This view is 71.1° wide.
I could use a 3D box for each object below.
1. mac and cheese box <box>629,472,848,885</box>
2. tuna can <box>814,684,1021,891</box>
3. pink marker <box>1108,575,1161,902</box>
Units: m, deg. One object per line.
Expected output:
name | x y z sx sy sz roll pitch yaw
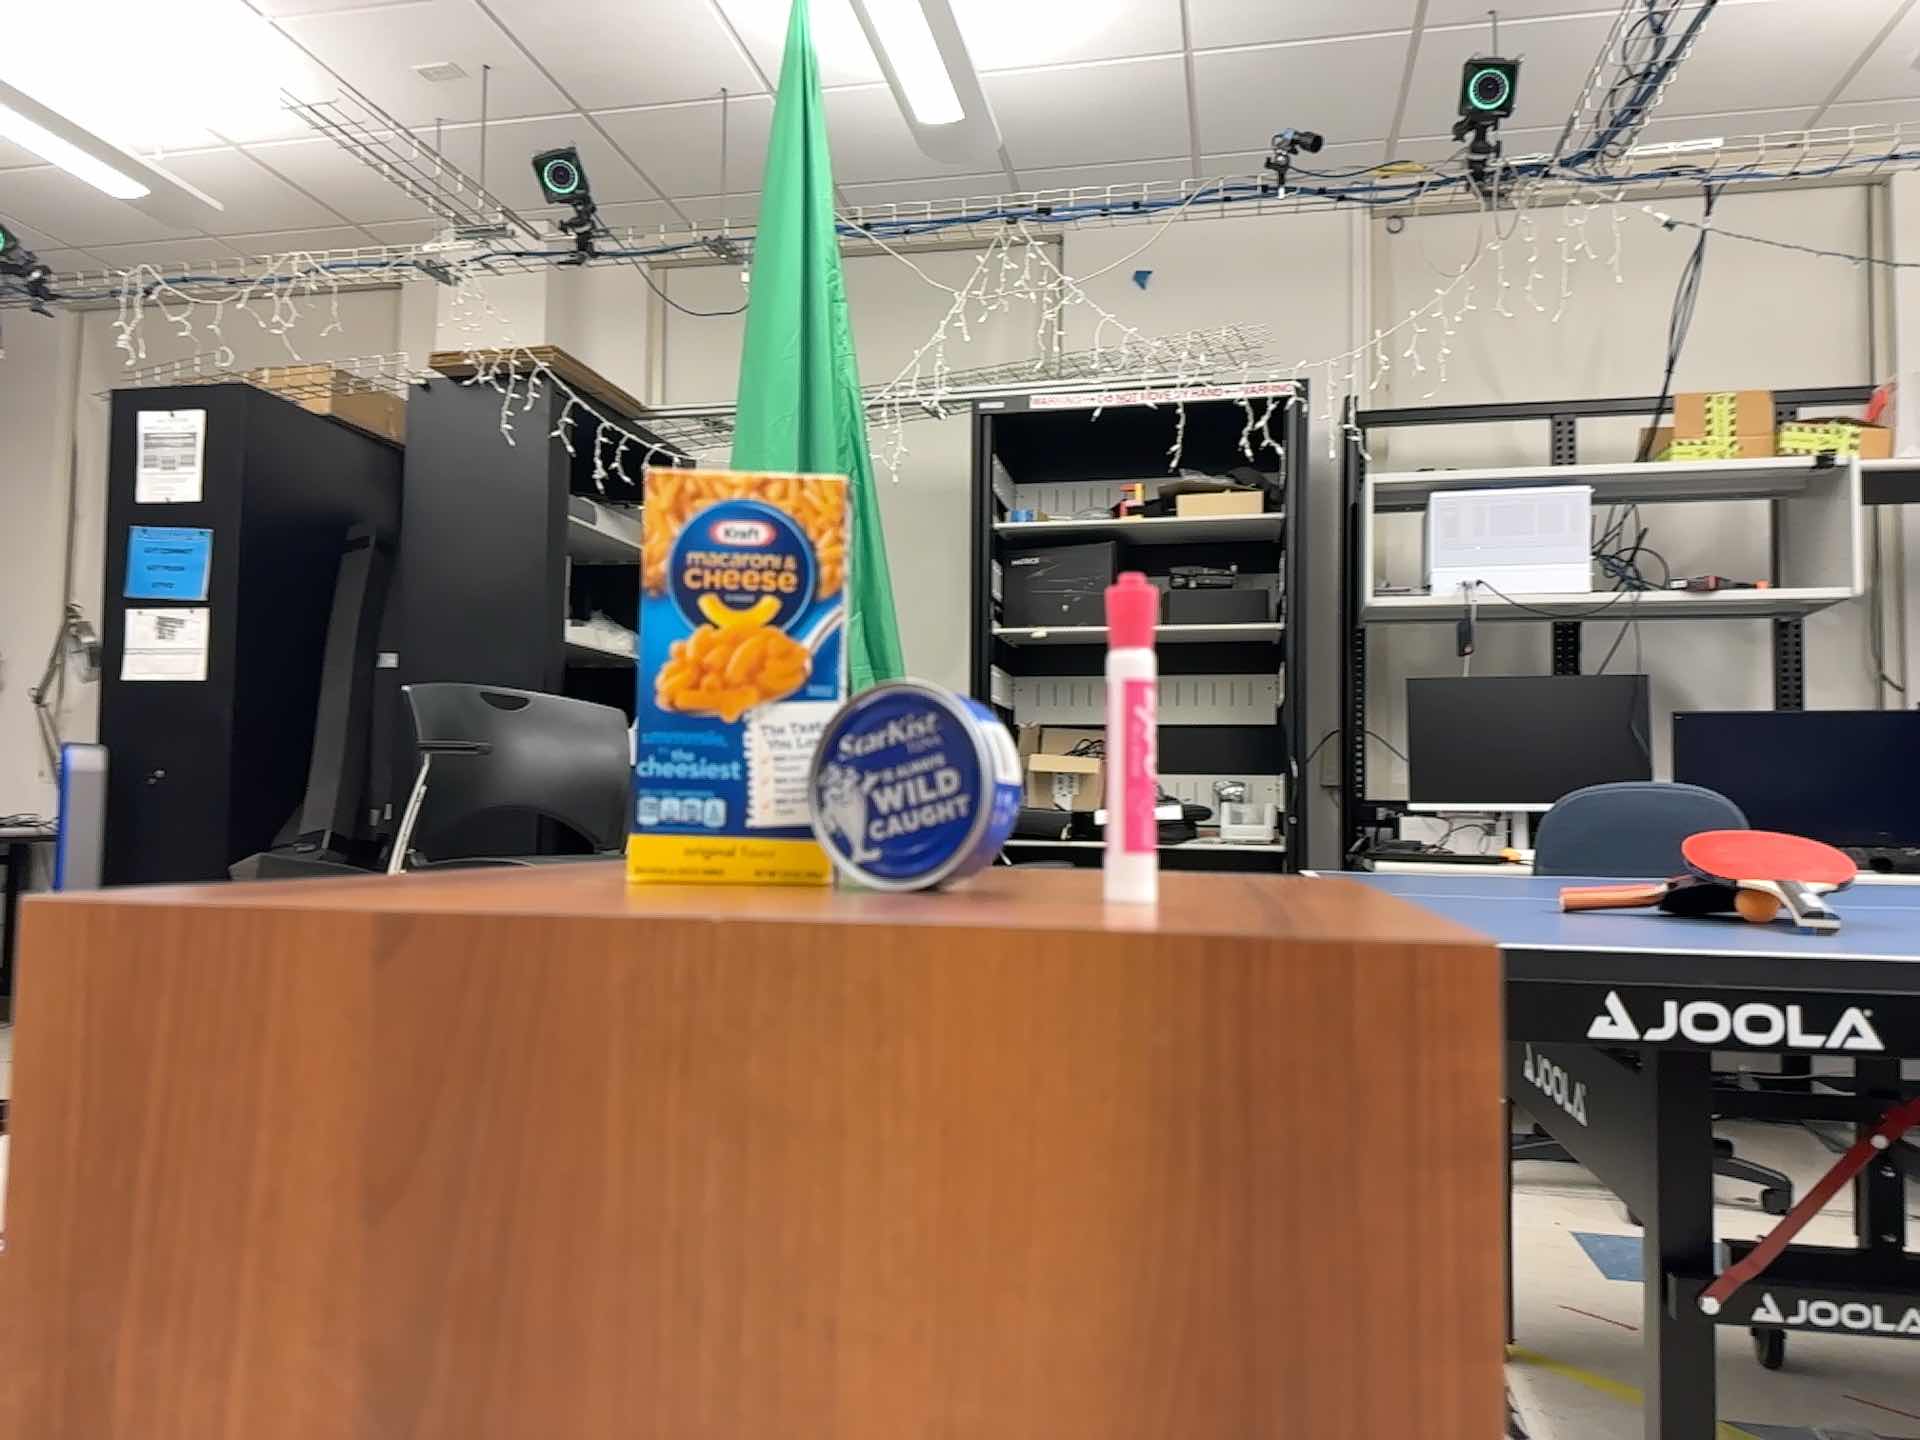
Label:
mac and cheese box | -0.099 -0.018 0.608 0.088 0.181 0.035 0 -2 4
tuna can | -0.018 0.028 0.562 0.083 0.083 0.034 -1 -4 29
pink marker | 0.065 0.006 0.501 0.020 0.121 0.020 0 -3 0
